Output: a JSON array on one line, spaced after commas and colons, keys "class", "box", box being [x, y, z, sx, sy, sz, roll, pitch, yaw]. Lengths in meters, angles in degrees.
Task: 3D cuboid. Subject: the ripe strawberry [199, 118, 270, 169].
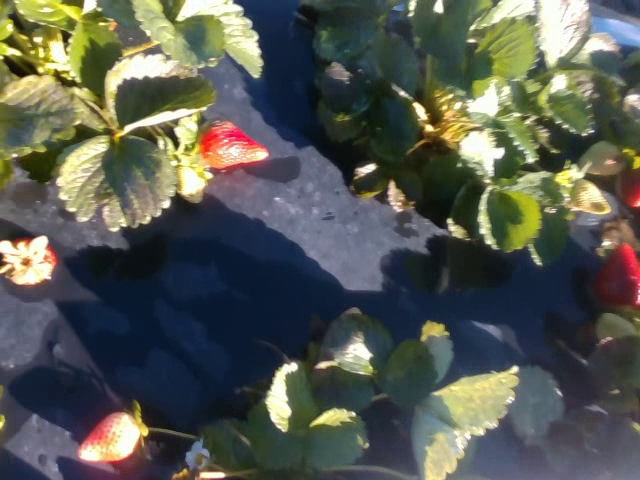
[{"class": "ripe strawberry", "box": [-0.070, -0.074, 0.485, 0.064, 0.050, 0.052, 10, 13, -9]}]
